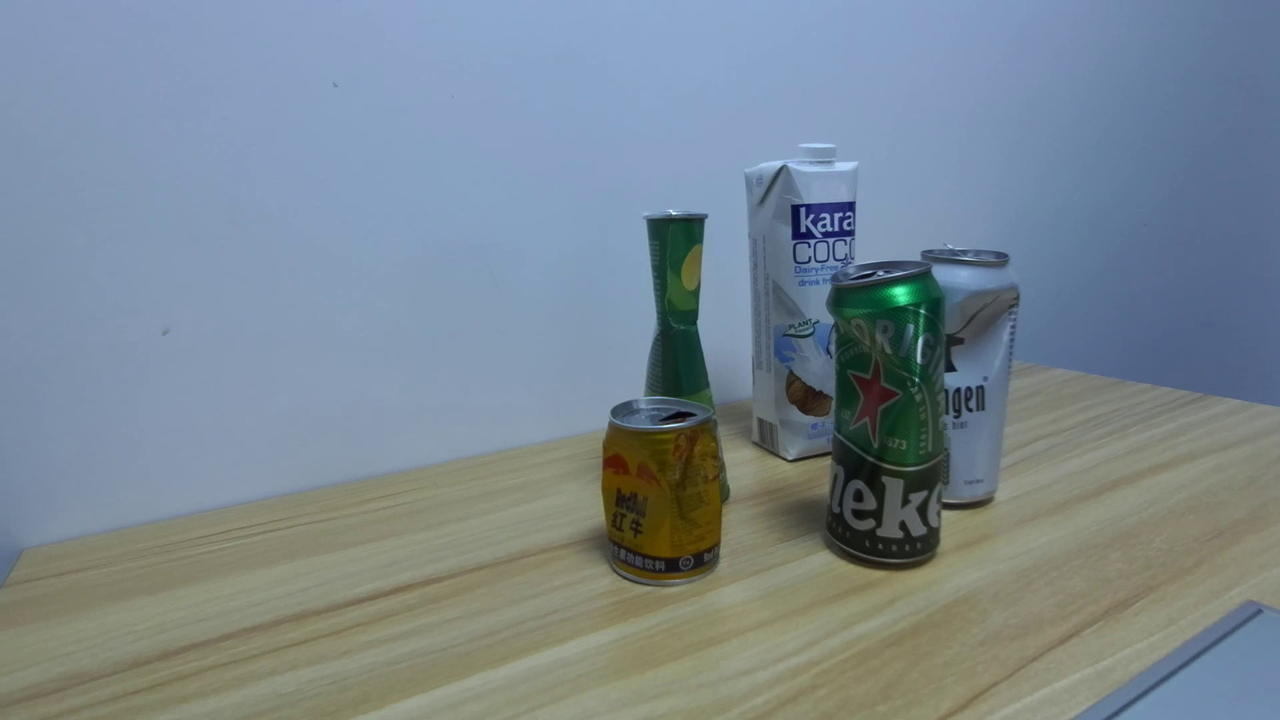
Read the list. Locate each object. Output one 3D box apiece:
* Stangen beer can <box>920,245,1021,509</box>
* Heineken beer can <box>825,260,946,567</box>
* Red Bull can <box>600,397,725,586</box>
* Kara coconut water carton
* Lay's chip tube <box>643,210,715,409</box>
[{"bbox_3d":[0.213,0.011,0.477,0.070,0.173,0.070,4,15,24],"label":"Stangen beer can"},{"bbox_3d":[0.140,0.032,0.408,0.069,0.168,0.069,3,13,34],"label":"Heineken beer can"},{"bbox_3d":[0.014,0.073,0.407,0.072,0.092,0.072,-2,13,1],"label":"Red Bull can"},{"bbox_3d":[0.131,-0.046,0.571,0.077,0.245,0.075,-6,10,-19],"label":"Kara coconut water carton"},{"bbox_3d":[0.026,0.001,0.488,0.069,0.199,0.074,-11,13,-37],"label":"Lay's chip tube"}]
